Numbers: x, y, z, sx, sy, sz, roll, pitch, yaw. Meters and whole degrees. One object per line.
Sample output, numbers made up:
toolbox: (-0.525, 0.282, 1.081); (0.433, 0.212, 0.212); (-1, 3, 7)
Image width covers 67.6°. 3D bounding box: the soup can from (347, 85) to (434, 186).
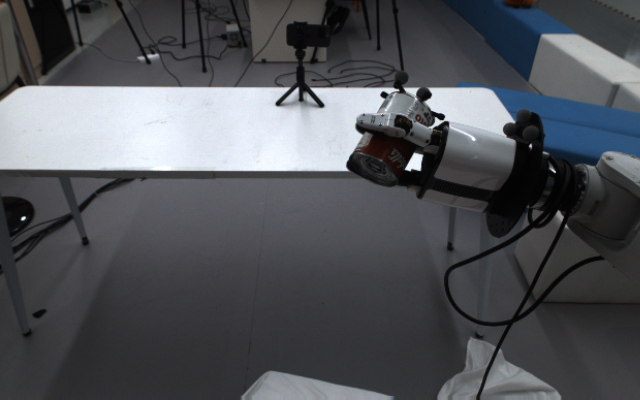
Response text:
soup can: (0.092, -0.077, 0.606); (0.067, 0.067, 0.101); (22, 71, 26)
